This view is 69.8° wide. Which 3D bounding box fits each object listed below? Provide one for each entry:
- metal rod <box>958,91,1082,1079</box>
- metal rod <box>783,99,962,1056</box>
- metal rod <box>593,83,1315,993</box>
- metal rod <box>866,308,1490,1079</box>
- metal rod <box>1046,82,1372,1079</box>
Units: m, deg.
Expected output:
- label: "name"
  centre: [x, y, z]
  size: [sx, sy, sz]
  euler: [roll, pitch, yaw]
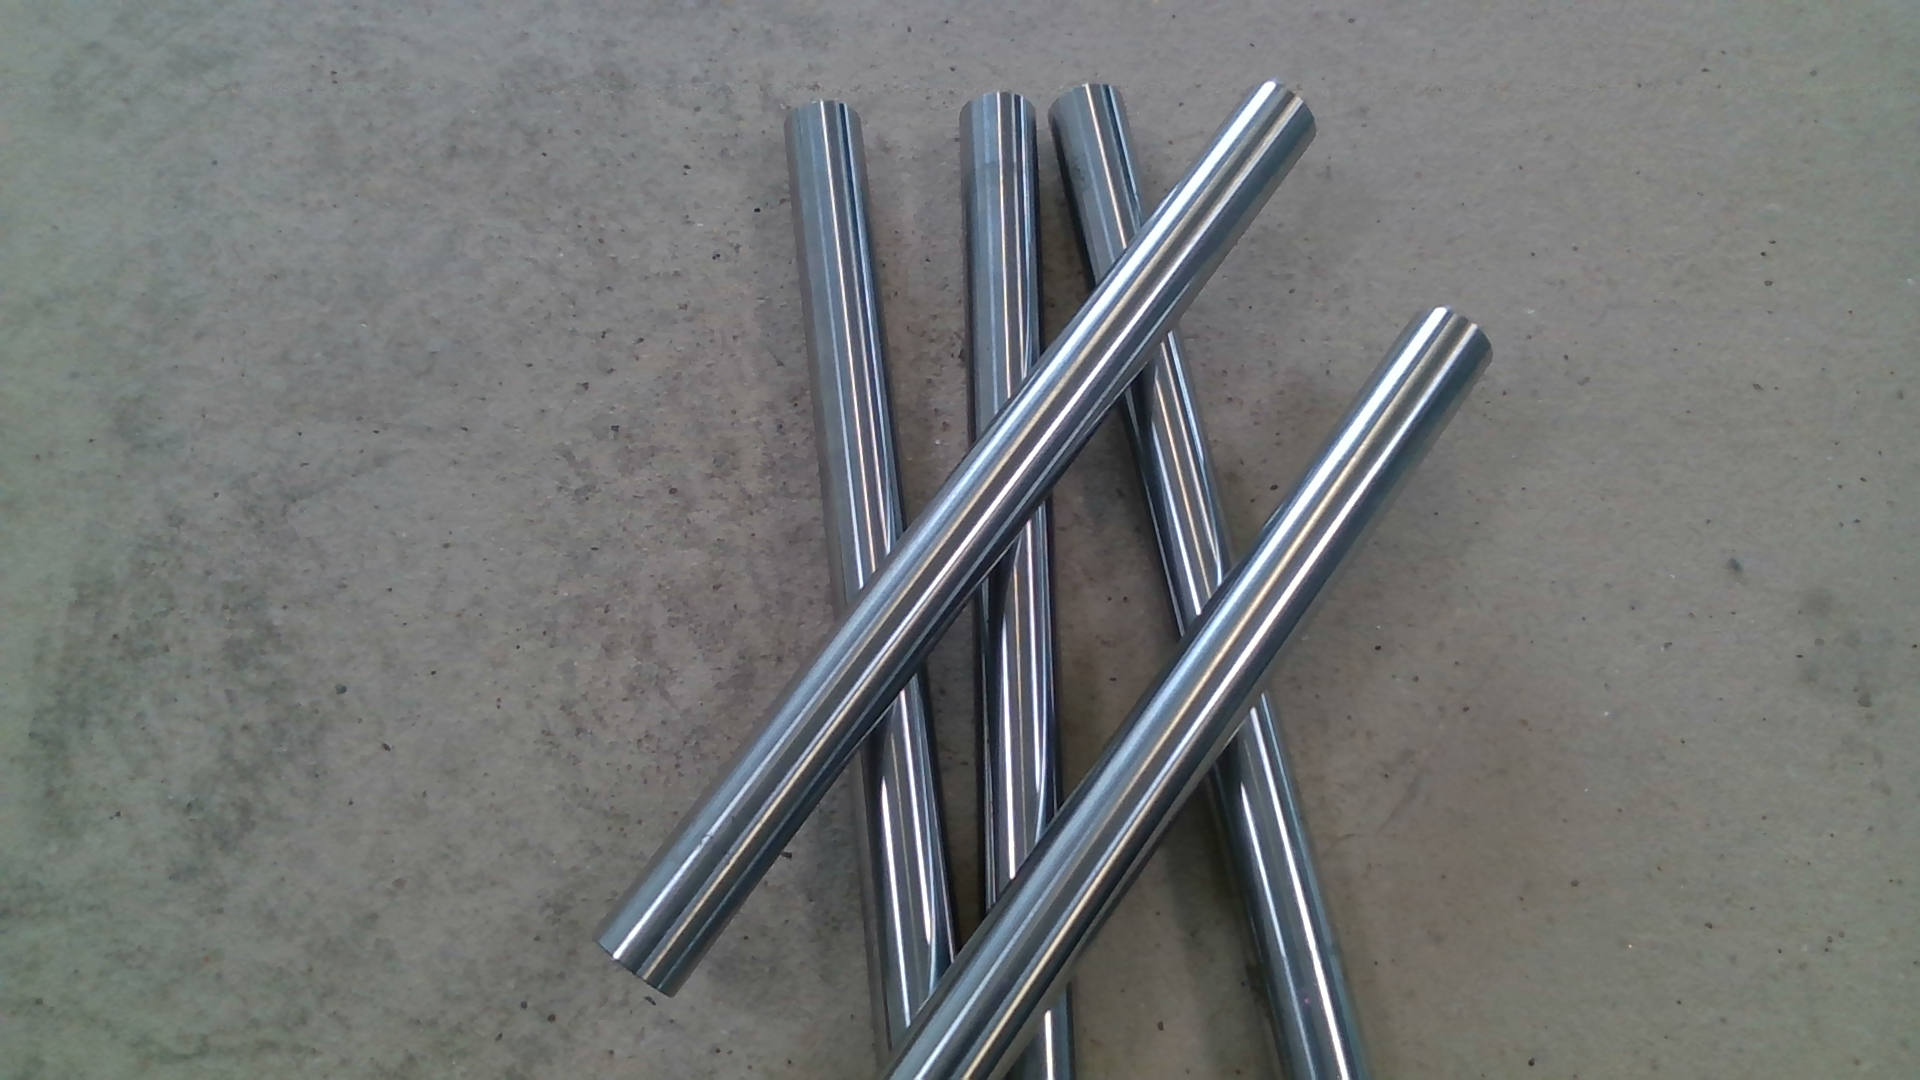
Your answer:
- label: "metal rod"
  centre: [0.015, 0.004, 0.394]
  size: [0.025, 0.025, 0.299]
  euler: [-1, 70, 0]
- label: "metal rod"
  centre: [-0.025, 0.006, 0.394]
  size: [0.025, 0.025, 0.299]
  euler: [-7, 71, -2]
- label: "metal rod"
  centre: [0.008, -0.013, 0.374]
  size: [0.025, 0.025, 0.300]
  euler: [34, 74, 11]
- label: "metal rod"
  centre: [0.049, 0.057, 0.349]
  size: [0.025, 0.025, 0.300]
  euler: [35, 74, 12]
- label: "metal rod"
  centre: [0.066, -0.001, 0.396]
  size: [0.025, 0.025, 0.299]
  euler: [-9, 71, -3]
